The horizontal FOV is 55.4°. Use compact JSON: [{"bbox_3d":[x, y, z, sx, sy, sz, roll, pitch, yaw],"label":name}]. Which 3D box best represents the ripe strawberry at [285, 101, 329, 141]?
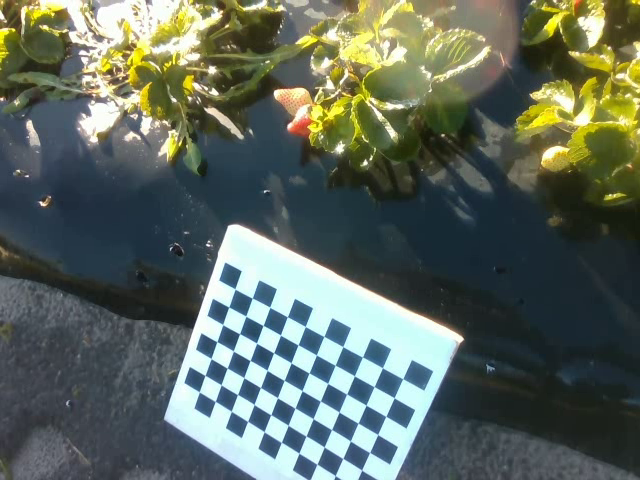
[{"bbox_3d":[-0.016,-0.122,0.624,0.055,0.038,0.040,-8,14,-40],"label":"ripe strawberry"}]
